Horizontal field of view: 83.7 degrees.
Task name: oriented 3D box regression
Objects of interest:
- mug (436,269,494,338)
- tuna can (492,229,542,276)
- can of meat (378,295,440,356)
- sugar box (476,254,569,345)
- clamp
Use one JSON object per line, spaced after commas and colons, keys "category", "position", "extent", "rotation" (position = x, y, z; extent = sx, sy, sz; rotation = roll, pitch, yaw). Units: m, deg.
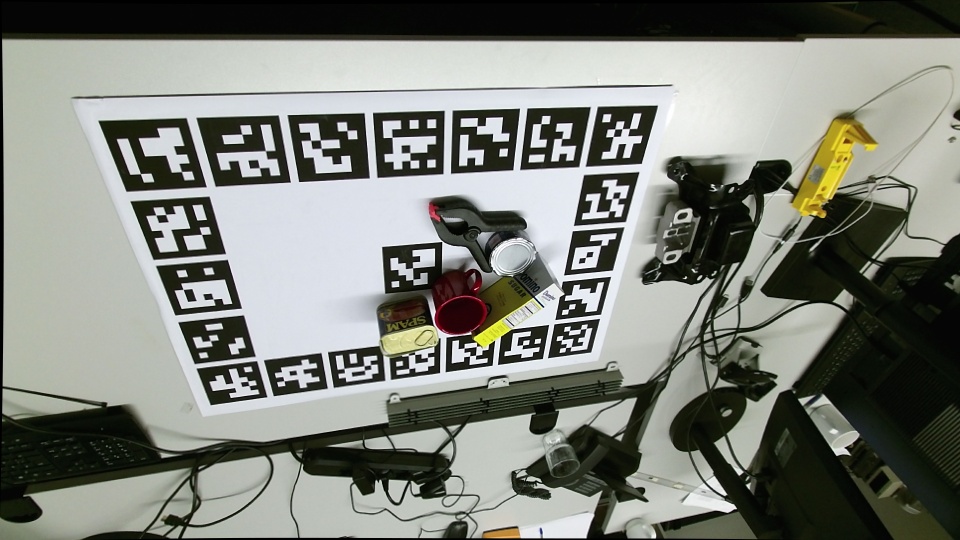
{"category": "mug", "position": [-0.025, 0.049, 0.932], "extent": [0.094, 0.081, 0.117], "rotation": [17, 116, -26]}
{"category": "tuna can", "position": [0.066, -0.033, 0.932], "extent": [0.086, 0.033, 0.086], "rotation": [-8, 125, -11]}
{"category": "can of meat", "position": [-0.127, 0.095, 0.945], "extent": [0.102, 0.083, 0.058], "rotation": [-12, 128, -6]}
{"category": "sugar box", "position": [0.064, 0.051, 0.963], "extent": [0.177, 0.092, 0.045], "rotation": [-35, 128, 12]}
{"category": "clamp", "position": [-0.008, -0.074, 0.888], "extent": [0.166, 0.036, 0.122], "rotation": [29, 117, -26]}
